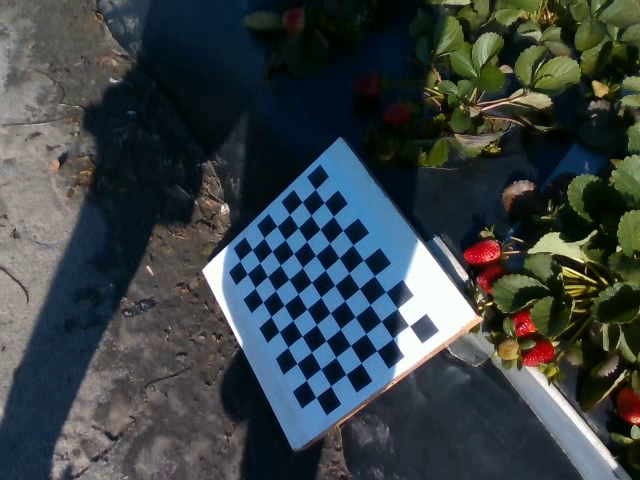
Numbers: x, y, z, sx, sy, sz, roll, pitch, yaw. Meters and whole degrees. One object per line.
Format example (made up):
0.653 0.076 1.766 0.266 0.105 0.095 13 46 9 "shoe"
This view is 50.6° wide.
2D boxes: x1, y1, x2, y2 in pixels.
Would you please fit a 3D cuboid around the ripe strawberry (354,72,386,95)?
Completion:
0.063 -0.221 0.936 0.050 0.051 0.044 1 -27 -36 "ripe strawberry"

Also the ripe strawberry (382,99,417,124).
0.102 -0.169 0.902 0.042 0.039 0.049 5 18 37 "ripe strawberry"
